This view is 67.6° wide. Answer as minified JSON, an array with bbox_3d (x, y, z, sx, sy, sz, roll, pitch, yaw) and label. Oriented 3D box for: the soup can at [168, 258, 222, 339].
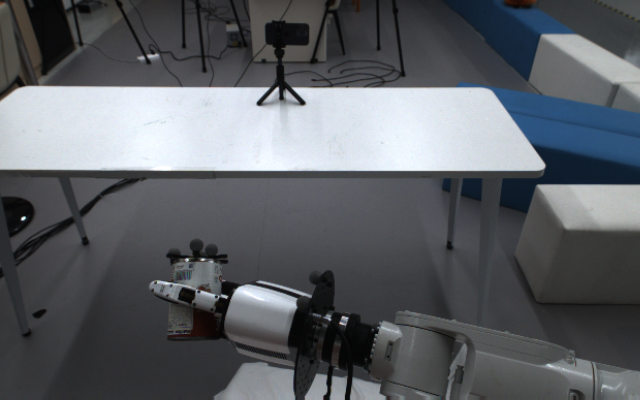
[{"bbox_3d":[-0.162,0.134,0.639,0.067,0.067,0.101,-1,72,-5],"label":"soup can"}]
